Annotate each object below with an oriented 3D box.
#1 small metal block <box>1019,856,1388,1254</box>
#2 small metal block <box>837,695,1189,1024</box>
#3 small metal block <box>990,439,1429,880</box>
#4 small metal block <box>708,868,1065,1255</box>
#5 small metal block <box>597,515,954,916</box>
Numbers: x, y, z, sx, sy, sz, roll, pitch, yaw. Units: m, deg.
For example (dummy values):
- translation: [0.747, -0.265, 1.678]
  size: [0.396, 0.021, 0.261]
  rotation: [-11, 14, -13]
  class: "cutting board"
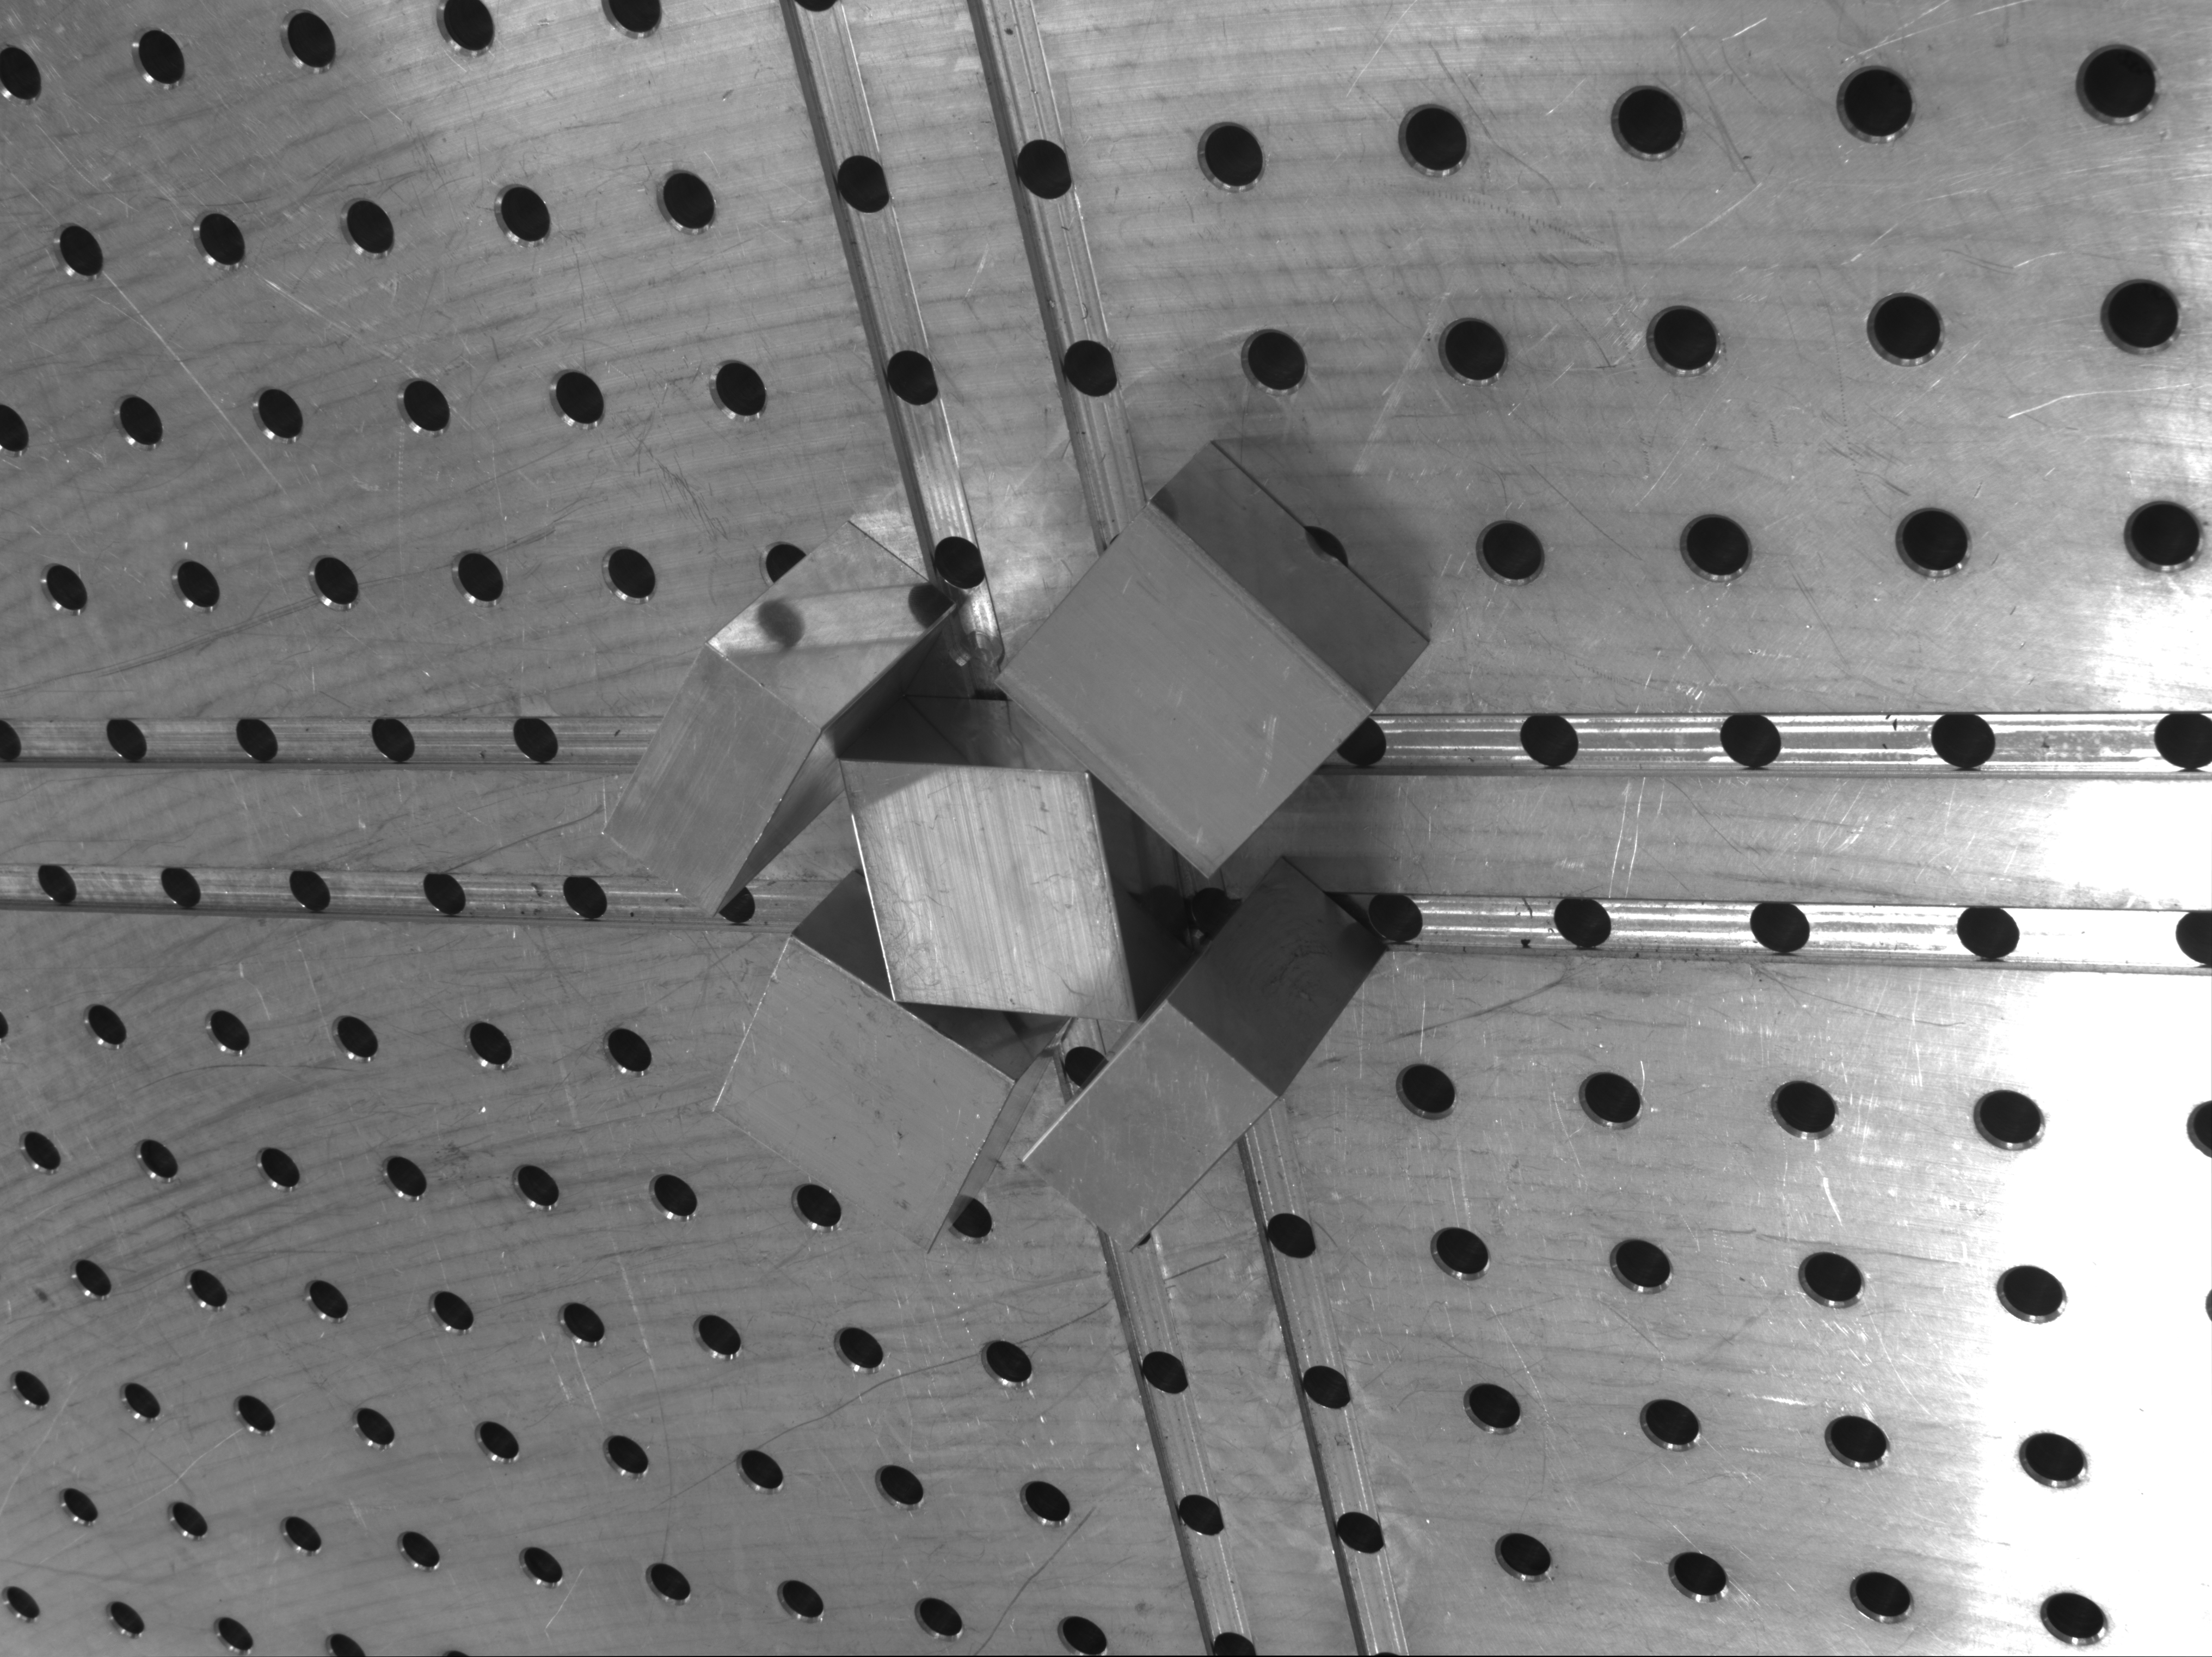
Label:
- translation: [0.017, 0.040, 0.645]
  size: [0.025, 0.050, 0.050]
  rotation: [41, 129, 1]
  class: "small metal block"
- translation: [-0.016, 0.005, 0.657]
  size: [0.050, 0.025, 0.050]
  rotation: [4, 119, 28]
  class: "small metal block"
- translation: [0.017, -0.028, 0.620]
  size: [0.050, 0.025, 0.050]
  rotation: [42, 130, -1]
  class: "small metal block"
- translation: [-0.041, 0.044, 0.695]
  size: [0.050, 0.025, 0.050]
  rotation: [33, 128, 6]
  class: "small metal block"
- translation: [-0.058, -0.020, 0.649]
  size: [0.025, 0.050, 0.050]
  rotation: [37, 130, 3]
  class: "small metal block"
